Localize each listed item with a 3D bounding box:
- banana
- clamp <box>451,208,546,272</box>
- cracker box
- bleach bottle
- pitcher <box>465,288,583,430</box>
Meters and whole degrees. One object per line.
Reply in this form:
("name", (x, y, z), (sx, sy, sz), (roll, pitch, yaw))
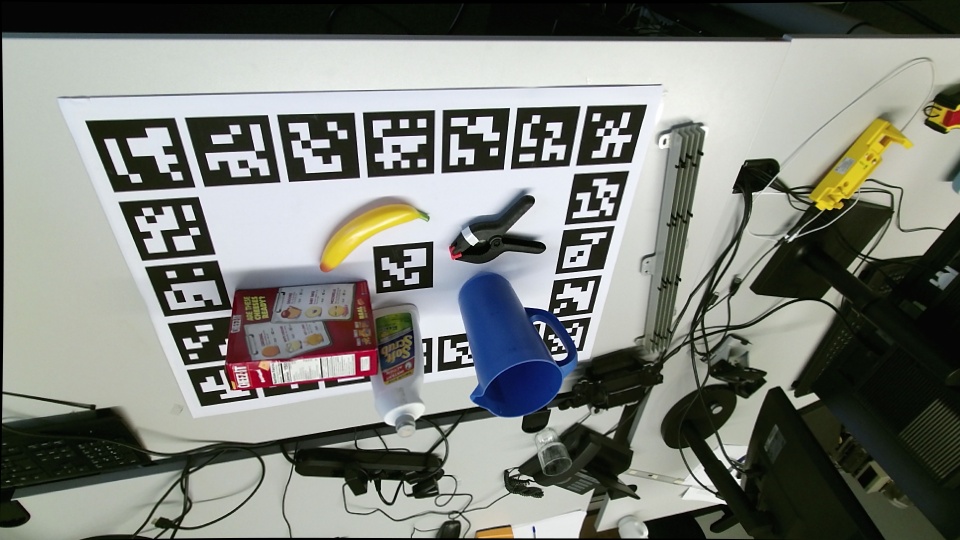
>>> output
("banana", (-0.183, -0.044, 0.873), (0.198, 0.038, 0.074), (-31, 131, 7))
("clamp", (0.030, -0.038, 0.937), (0.166, 0.036, 0.122), (-17, 132, -2))
("cracker box", (-0.280, 0.112, 0.854), (0.214, 0.163, 0.072), (-4, 131, -17))
("bleach bottle", (-0.130, 0.176, 0.917), (0.103, 0.249, 0.068), (-5, 129, -15))
("pitcher", (0.060, 0.140, 0.926), (0.189, 0.241, 0.133), (-18, 131, 0))
